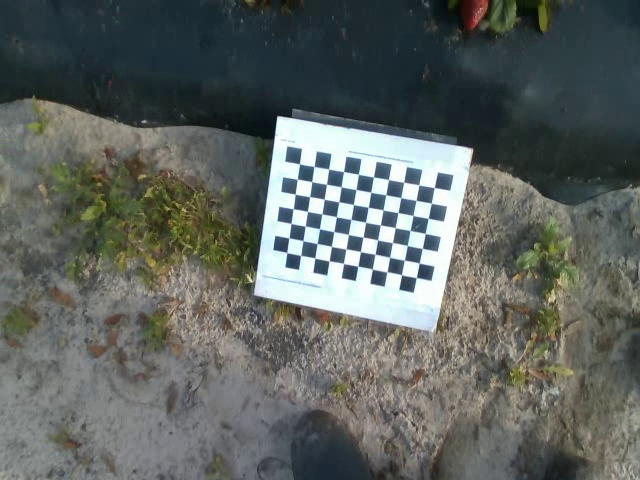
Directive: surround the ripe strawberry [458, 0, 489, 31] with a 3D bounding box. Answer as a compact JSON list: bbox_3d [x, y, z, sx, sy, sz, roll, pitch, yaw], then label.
[{"bbox_3d":[0.144,-0.192,0.398,0.030,0.036,0.021,13,0,9],"label":"ripe strawberry"}]
